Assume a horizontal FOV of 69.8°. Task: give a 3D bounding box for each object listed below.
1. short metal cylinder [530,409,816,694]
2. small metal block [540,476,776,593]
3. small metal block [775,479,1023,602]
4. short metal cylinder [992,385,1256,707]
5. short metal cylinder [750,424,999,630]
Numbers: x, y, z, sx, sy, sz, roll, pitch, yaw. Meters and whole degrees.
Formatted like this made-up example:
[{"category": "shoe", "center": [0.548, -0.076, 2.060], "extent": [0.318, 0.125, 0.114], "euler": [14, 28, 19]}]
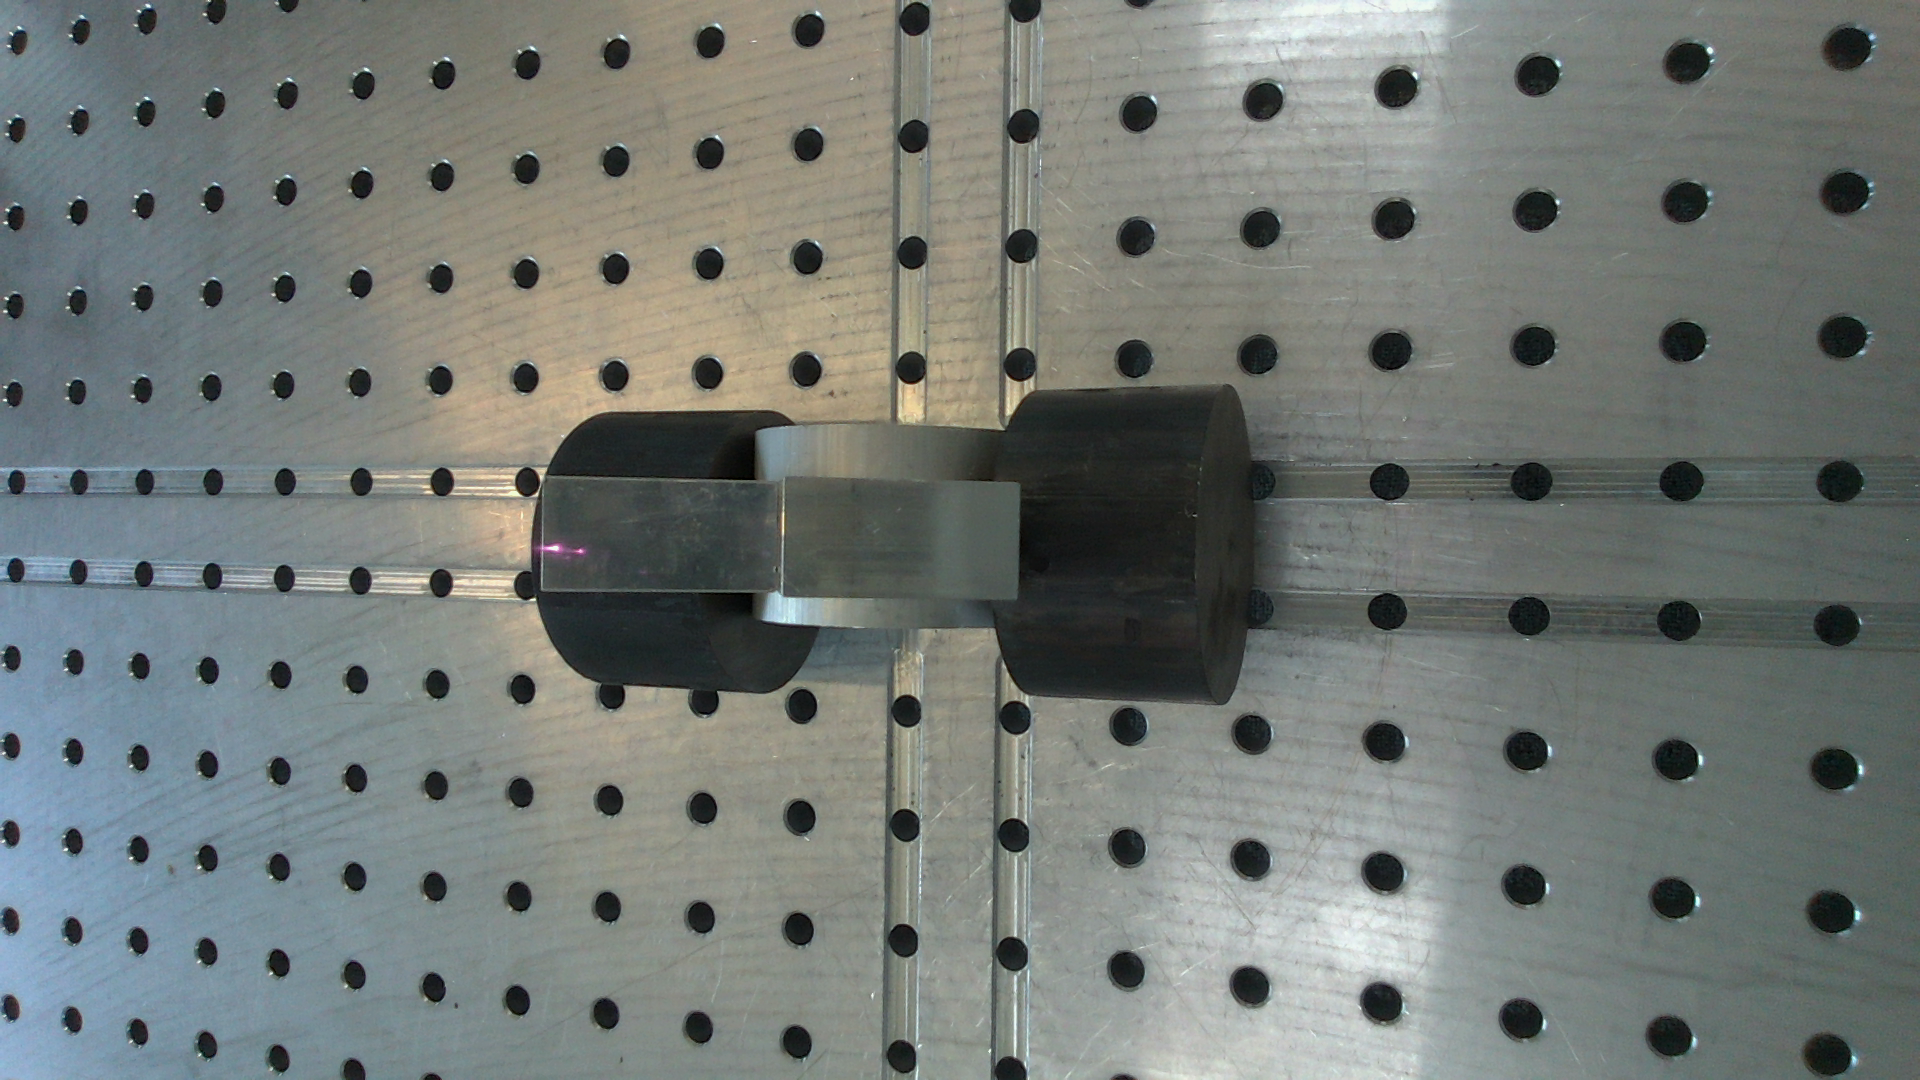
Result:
[{"category": "short metal cylinder", "center": [-0.078, 0.003, 0.396], "extent": [0.050, 0.080, 0.080], "euler": [1, 91, 20]}, {"category": "small metal block", "center": [-0.070, -0.001, 0.324], "extent": [0.050, 0.050, 0.025], "euler": [1, 90, -11]}, {"category": "small metal block", "center": [-0.016, 0.000, 0.309], "extent": [0.050, 0.050, 0.025], "euler": [1, 90, -11]}, {"category": "short metal cylinder", "center": [0.044, 0.001, 0.352], "extent": [0.050, 0.080, 0.080], "euler": [1, 90, 21]}, {"category": "short metal cylinder", "center": [-0.016, -0.003, 0.375], "extent": [0.080, 0.080, 0.050], "euler": [1, 91, 20]}]
